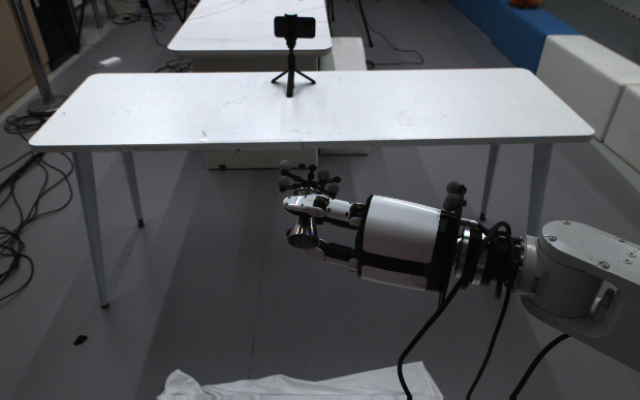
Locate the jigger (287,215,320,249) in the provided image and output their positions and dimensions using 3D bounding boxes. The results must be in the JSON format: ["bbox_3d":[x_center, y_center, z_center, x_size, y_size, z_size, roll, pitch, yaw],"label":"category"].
[{"bbox_3d":[-0.019,0.021,0.619,0.043,0.043,0.071,4,60,2],"label":"jigger"}]
